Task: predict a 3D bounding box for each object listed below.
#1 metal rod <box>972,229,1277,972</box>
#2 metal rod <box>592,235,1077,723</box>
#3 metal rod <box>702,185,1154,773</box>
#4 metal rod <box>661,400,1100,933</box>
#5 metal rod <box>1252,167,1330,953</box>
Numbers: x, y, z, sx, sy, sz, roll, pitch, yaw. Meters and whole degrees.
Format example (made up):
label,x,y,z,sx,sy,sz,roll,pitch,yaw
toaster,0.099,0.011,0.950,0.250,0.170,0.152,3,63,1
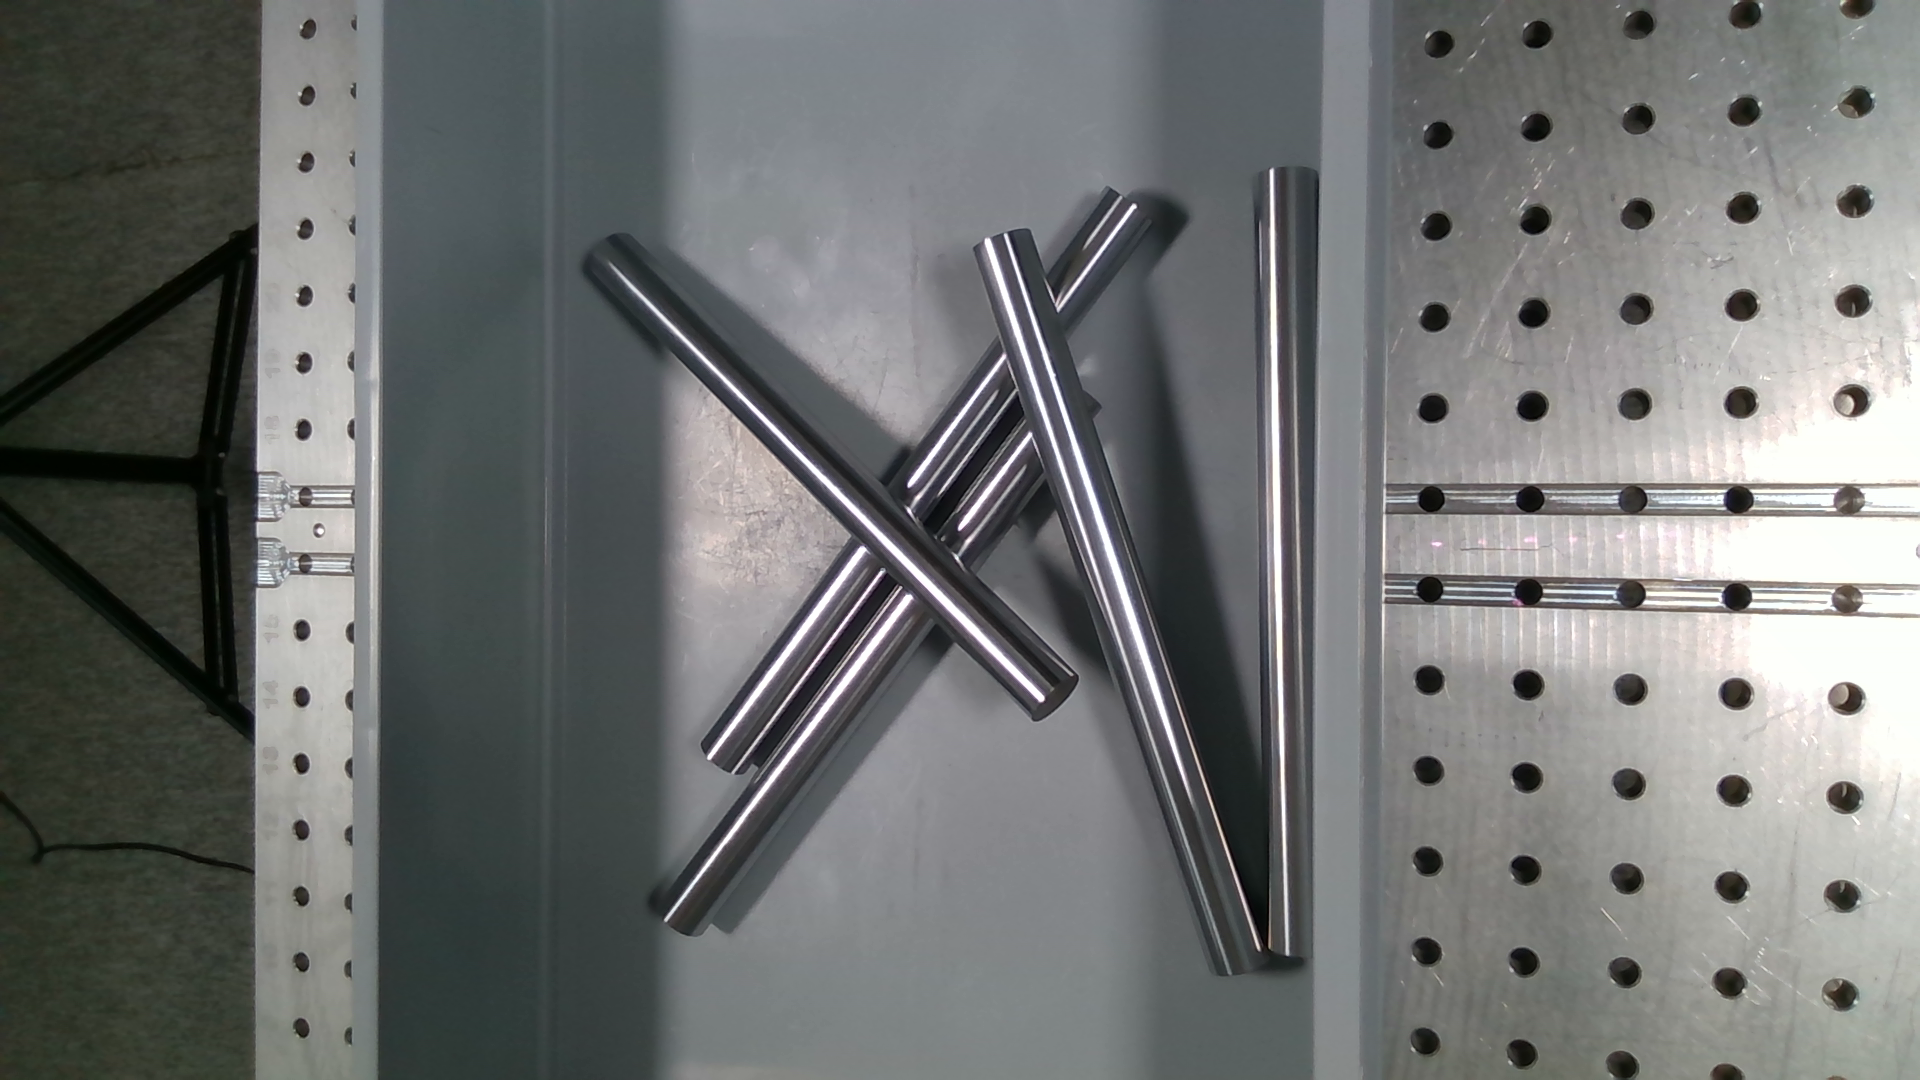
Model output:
label,x,y,z,sx,sy,sz,roll,pitch,yaw
metal rod,0.065,0.024,0.545,0.025,0.025,0.300,-19,90,19
metal rod,-0.062,-0.035,0.586,0.299,0.025,0.025,44,104,23
metal rod,-0.019,-0.020,0.592,0.025,0.025,0.300,40,103,16
metal rod,-0.039,0.055,0.600,0.025,0.025,0.300,40,103,16
metal rod,0.129,0.008,0.537,0.025,0.025,0.300,-1,90,20
